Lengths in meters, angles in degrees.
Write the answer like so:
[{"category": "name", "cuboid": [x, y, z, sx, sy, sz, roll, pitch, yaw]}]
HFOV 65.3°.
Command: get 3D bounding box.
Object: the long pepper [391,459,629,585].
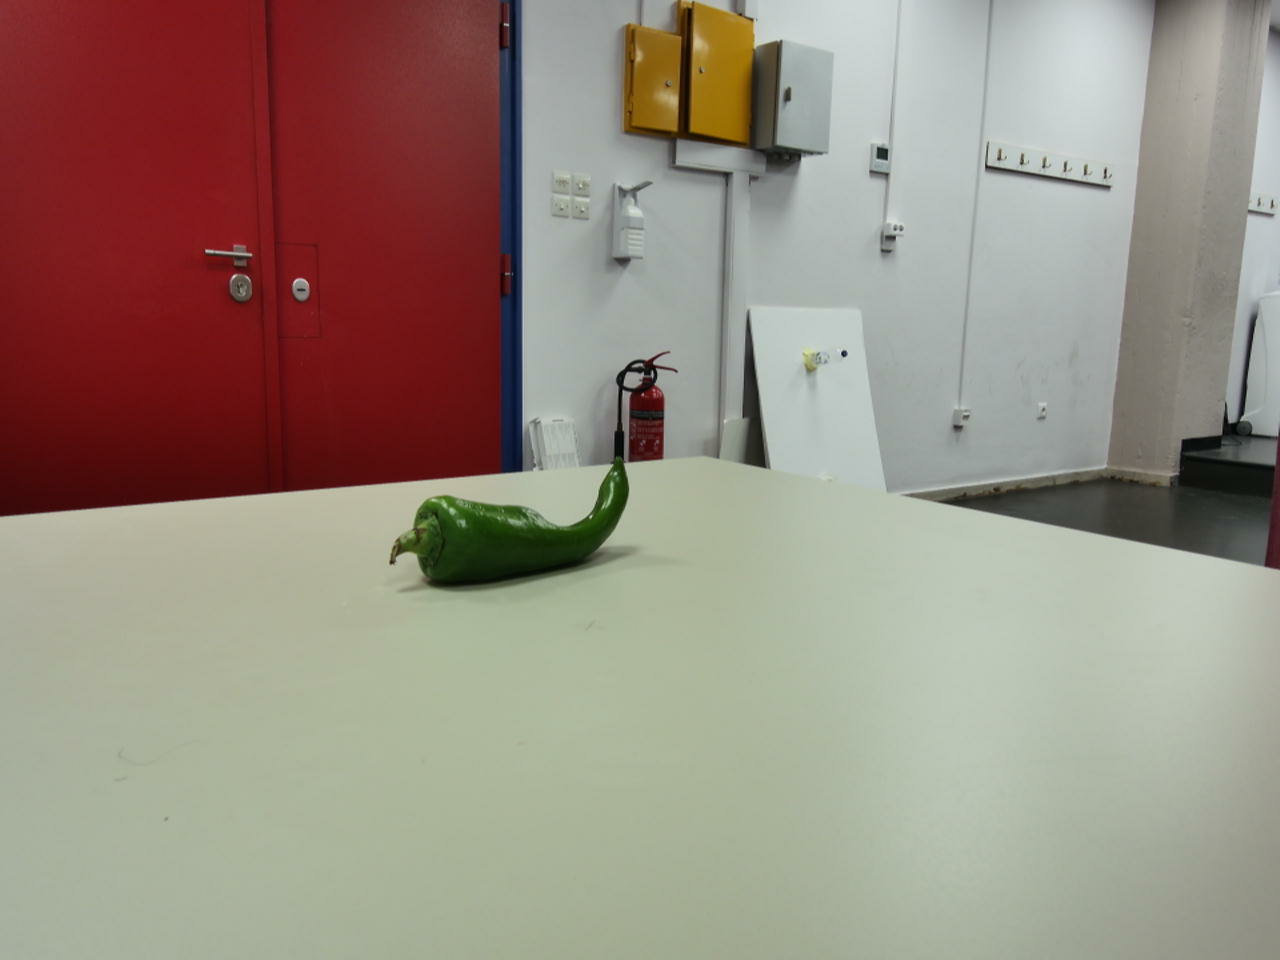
[{"category": "long pepper", "cuboid": [-0.072, 0.025, 0.615, 0.175, 0.065, 0.058, -6, 9, -38]}]
